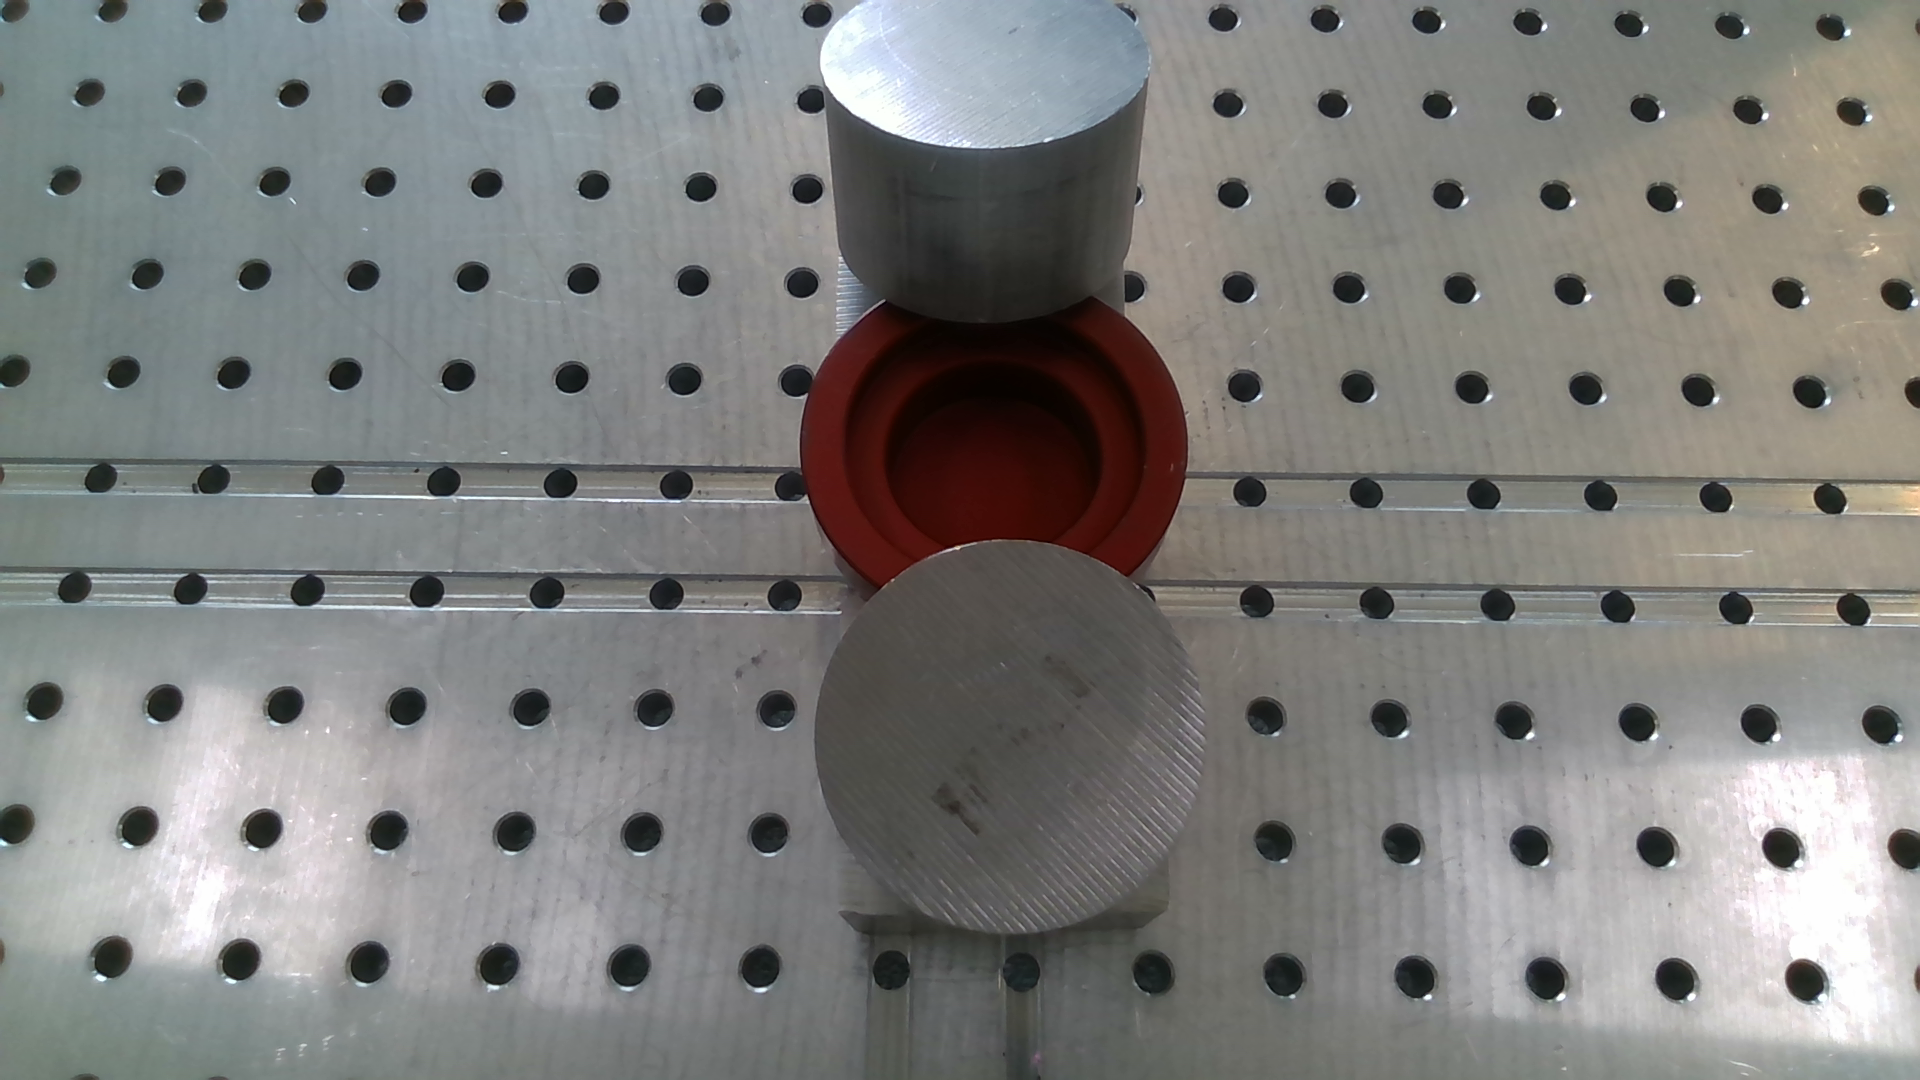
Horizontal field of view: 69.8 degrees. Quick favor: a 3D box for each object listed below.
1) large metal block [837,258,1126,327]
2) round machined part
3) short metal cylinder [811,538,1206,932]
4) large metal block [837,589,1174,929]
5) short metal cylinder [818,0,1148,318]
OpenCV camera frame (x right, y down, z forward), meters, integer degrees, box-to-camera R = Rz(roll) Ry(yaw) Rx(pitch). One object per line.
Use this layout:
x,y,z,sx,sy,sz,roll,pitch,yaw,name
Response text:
0.006,-0.081,0.413,0.080,0.050,0.080,1,70,0,large metal block
0.008,-0.019,0.365,0.098,0.042,0.098,0,70,0,round machined part
0.010,0.040,0.304,0.080,0.050,0.080,0,90,0,short metal cylinder
0.010,0.059,0.364,0.080,0.050,0.080,-1,70,0,large metal block
0.006,-0.102,0.354,0.080,0.050,0.080,-1,49,1,short metal cylinder
